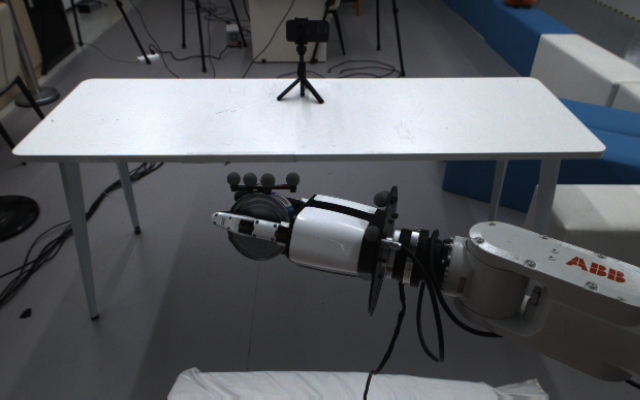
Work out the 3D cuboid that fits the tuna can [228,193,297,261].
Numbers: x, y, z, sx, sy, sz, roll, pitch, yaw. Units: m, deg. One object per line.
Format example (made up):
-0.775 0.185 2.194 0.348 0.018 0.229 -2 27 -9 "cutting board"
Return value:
-0.070 0.032 0.615 0.085 0.085 0.034 12 8 14 "tuna can"
